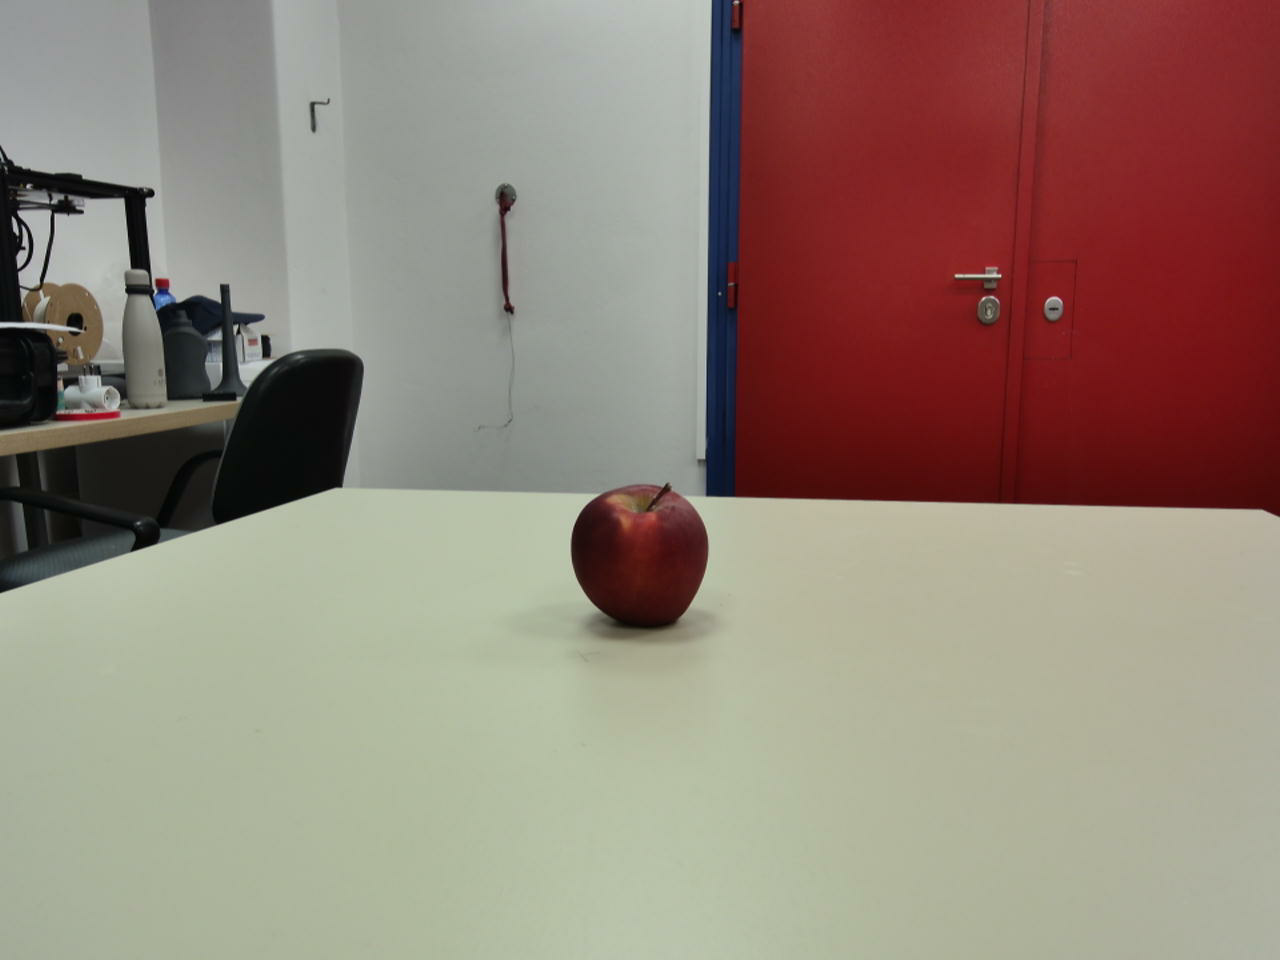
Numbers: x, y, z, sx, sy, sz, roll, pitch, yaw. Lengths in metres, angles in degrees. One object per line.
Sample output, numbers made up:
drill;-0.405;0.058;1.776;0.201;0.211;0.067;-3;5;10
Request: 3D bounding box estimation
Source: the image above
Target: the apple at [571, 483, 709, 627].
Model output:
apple;0.000;0.038;0.508;0.070;0.072;0.070;1;6;0
